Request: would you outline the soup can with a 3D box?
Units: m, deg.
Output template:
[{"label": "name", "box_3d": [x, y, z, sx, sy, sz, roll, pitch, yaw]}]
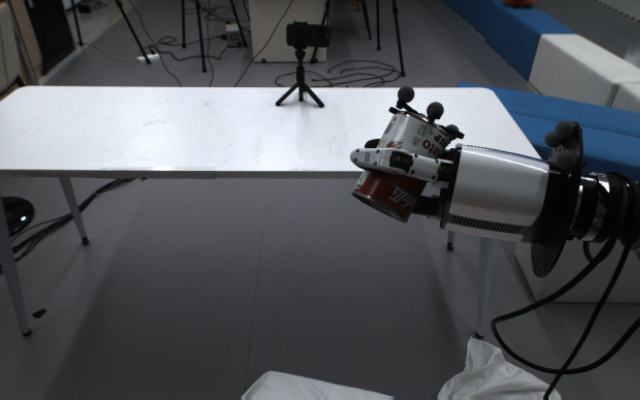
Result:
[{"label": "soup can", "box_3d": [0.089, -0.036, 0.522, 0.067, 0.101, 0.067, 28, -2, 1]}]
